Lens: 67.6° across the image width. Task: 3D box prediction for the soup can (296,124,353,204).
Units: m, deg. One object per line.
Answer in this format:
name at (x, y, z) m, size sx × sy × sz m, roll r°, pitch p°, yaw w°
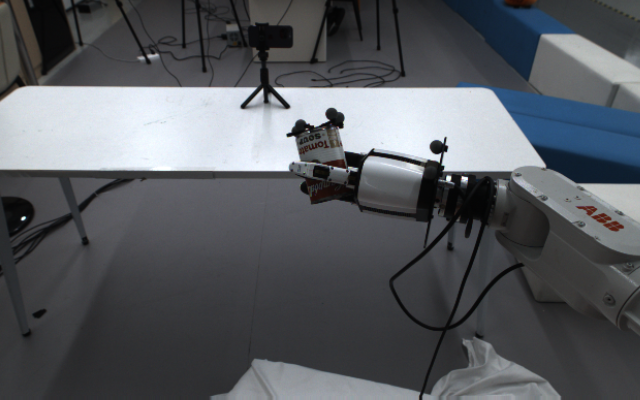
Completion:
soup can at (0.008, -0.051, 0.715) m, size 0.067 × 0.101 × 0.067 m, roll -14°, pitch -2°, yaw -1°
